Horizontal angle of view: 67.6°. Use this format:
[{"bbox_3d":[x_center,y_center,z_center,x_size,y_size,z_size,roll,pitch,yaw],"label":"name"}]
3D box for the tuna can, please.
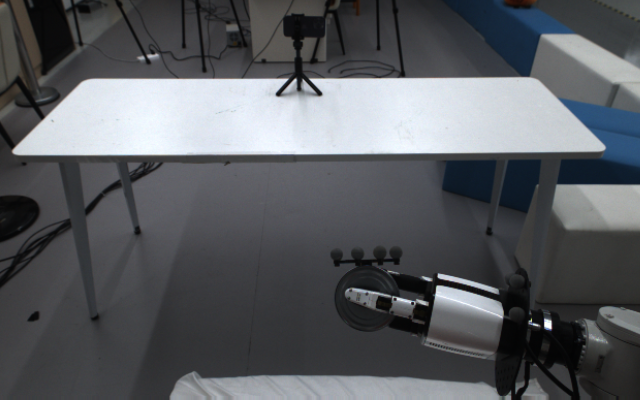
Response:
[{"bbox_3d":[0.065,0.129,0.641,0.085,0.034,0.085,-2,79,10],"label":"tuna can"}]
